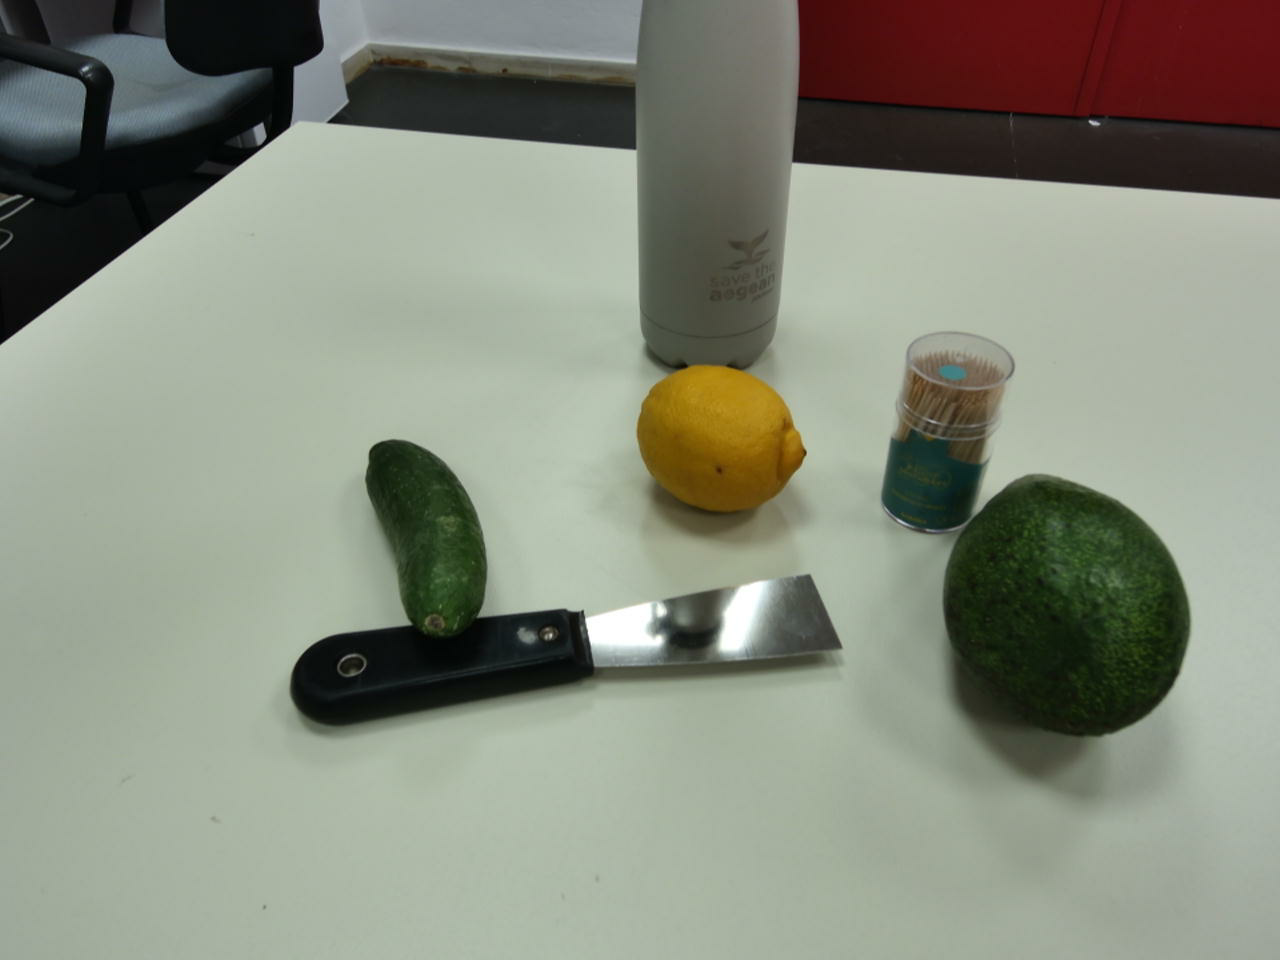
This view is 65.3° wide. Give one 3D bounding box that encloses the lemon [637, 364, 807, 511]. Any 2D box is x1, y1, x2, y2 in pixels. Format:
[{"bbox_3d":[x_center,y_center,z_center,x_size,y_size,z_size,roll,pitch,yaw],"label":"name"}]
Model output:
[{"bbox_3d":[0.032,-0.017,0.417,0.060,0.059,0.067,-22,43,-26],"label":"lemon"}]
